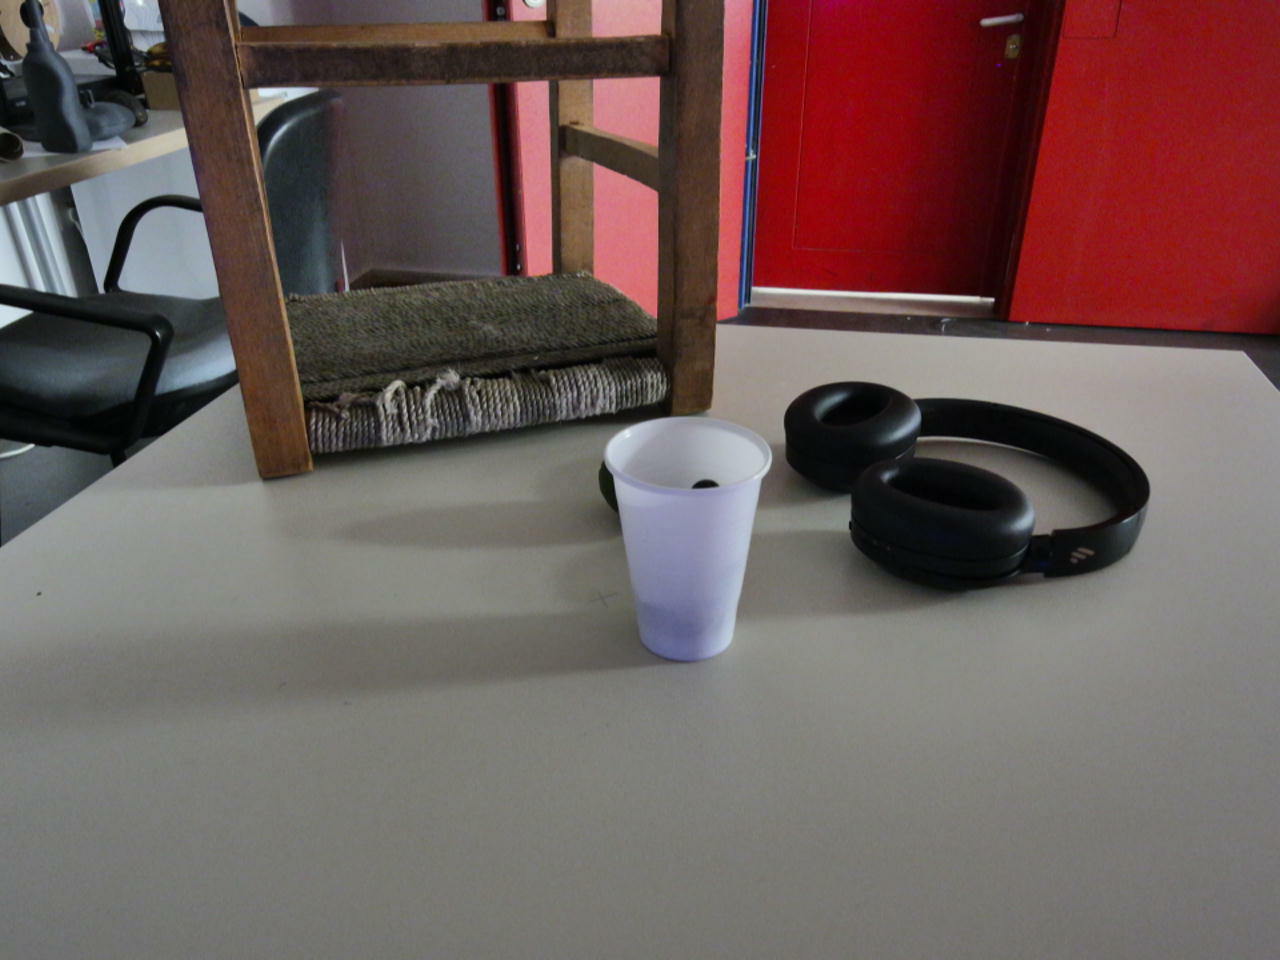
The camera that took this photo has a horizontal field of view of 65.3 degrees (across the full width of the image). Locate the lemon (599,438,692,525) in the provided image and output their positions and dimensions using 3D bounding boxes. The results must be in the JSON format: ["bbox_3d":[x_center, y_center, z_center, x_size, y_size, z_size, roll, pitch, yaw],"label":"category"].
[{"bbox_3d":[0.004,0.000,0.612,0.057,0.051,0.054,2,27,7],"label":"lemon"}]
